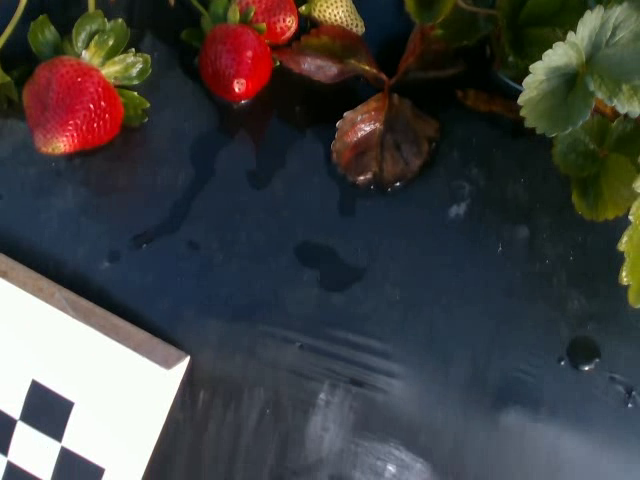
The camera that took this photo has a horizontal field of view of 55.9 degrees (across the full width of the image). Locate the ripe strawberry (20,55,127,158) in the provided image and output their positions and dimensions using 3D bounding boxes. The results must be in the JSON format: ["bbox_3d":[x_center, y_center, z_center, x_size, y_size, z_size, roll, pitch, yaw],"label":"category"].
[{"bbox_3d":[-0.124,-0.061,0.288,0.050,0.050,0.065,-14,38,17],"label":"ripe strawberry"}]

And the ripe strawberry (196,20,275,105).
[{"bbox_3d":[-0.044,-0.086,0.307,0.041,0.044,0.055,40,20,-34],"label":"ripe strawberry"}]
